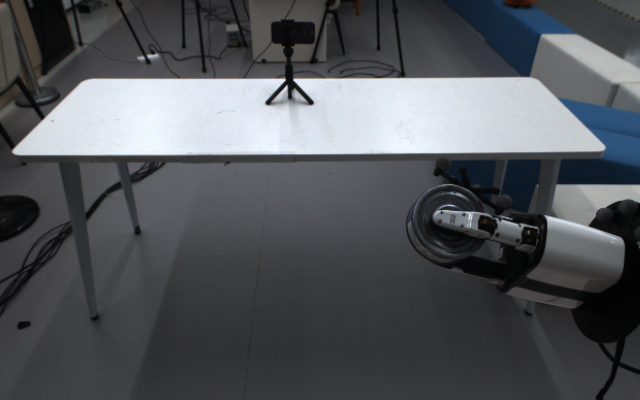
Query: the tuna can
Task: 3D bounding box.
[{"bbox_3d":[0.146,0.032,0.536,0.085,0.034,0.085,0,74,-1],"label":"tuna can"}]
